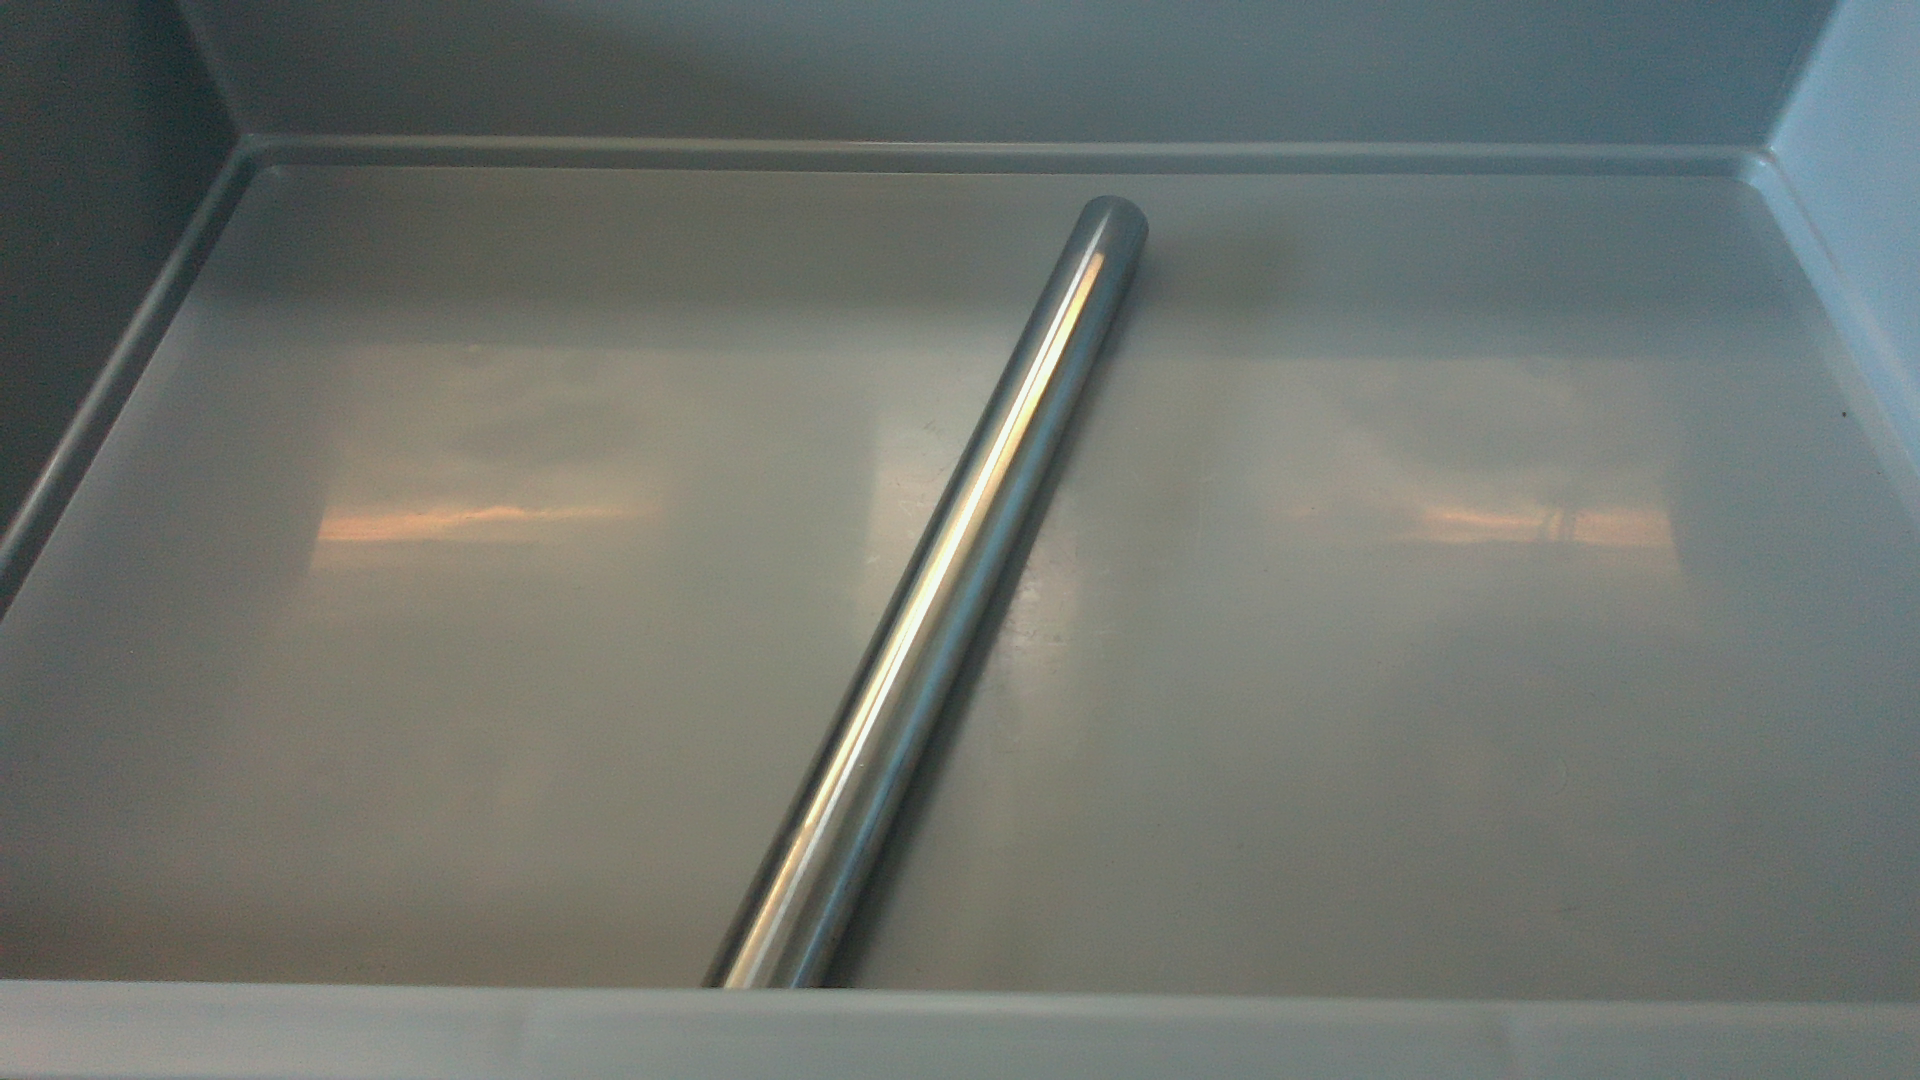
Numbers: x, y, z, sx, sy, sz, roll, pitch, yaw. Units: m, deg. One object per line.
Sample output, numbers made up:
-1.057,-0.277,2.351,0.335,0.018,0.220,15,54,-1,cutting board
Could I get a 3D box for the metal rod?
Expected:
0.002,-0.002,0.390,0.025,0.025,0.301,15,52,13,metal rod
